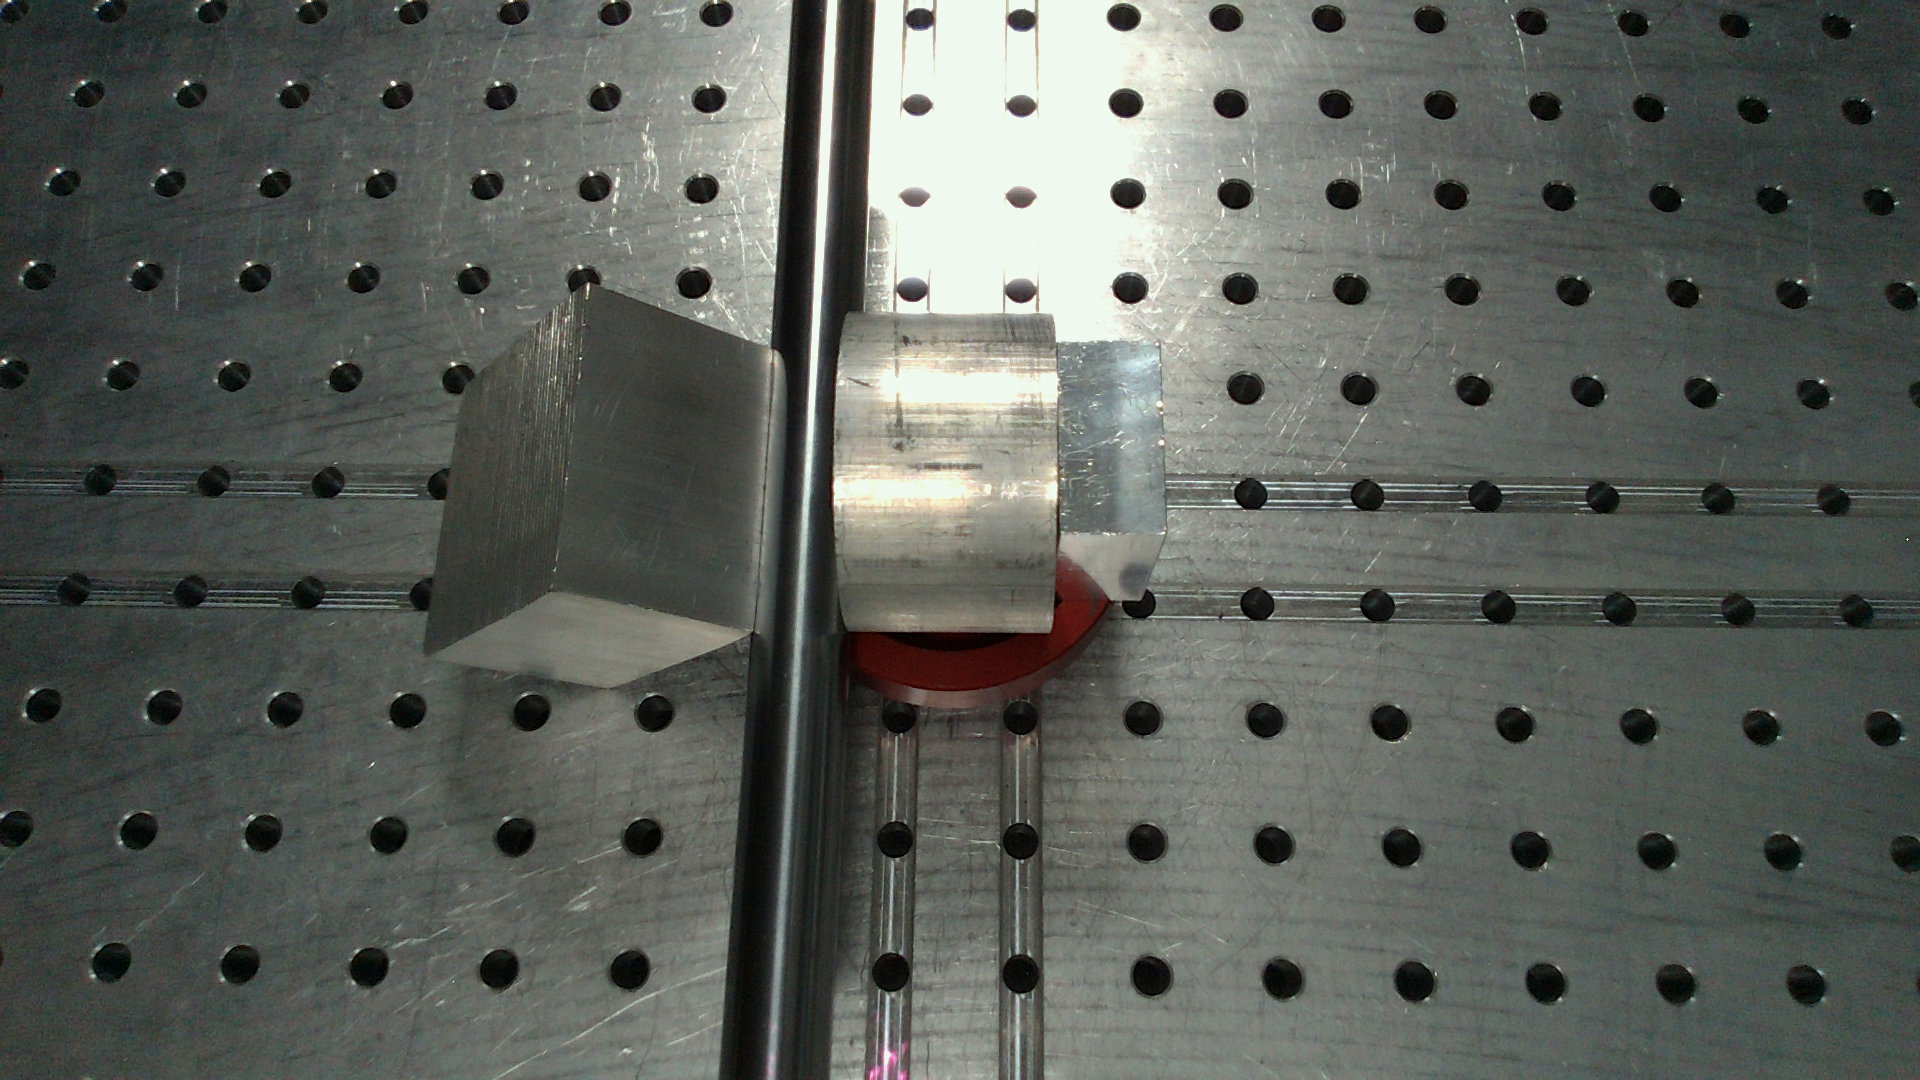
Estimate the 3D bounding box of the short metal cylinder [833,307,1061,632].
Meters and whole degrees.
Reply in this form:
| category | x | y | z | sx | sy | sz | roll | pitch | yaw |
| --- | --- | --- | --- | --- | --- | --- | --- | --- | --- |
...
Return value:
| category | x | y | z | sx | sy | sz | roll | pitch | yaw |
| --- | --- | --- | --- | --- | --- | --- | --- | --- | --- |
| short metal cylinder | -0.002 | -0.017 | 0.342 | 0.050 | 0.080 | 0.080 | 1 | 70 | 0 |

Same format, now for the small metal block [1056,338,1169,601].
| category | x | y | z | sx | sy | sz | roll | pitch | yaw |
| --- | --- | --- | --- | --- | --- | --- | --- | --- | --- |
| small metal block | 0.036 | -0.016 | 0.345 | 0.025 | 0.050 | 0.050 | 1 | 70 | 1 |

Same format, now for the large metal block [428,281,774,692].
| category | x | y | z | sx | sy | sz | roll | pitch | yaw |
| --- | --- | --- | --- | --- | --- | --- | --- | --- | --- |
| large metal block | -0.095 | -0.010 | 0.365 | 0.050 | 0.080 | 0.080 | 17 | 64 | -38 |

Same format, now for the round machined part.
| category | x | y | z | sx | sy | sz | roll | pitch | yaw |
| --- | --- | --- | --- | --- | --- | --- | --- | --- | --- |
| round machined part | -0.002 | -0.001 | 0.387 | 0.098 | 0.042 | 0.098 | 0 | 70 | 0 |

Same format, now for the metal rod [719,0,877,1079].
| category | x | y | z | sx | sy | sz | roll | pitch | yaw |
| --- | --- | --- | --- | --- | --- | --- | --- | --- | --- |
| metal rod | -0.039 | -0.019 | 0.360 | 0.025 | 0.025 | 0.300 | 1 | 70 | 0 |
